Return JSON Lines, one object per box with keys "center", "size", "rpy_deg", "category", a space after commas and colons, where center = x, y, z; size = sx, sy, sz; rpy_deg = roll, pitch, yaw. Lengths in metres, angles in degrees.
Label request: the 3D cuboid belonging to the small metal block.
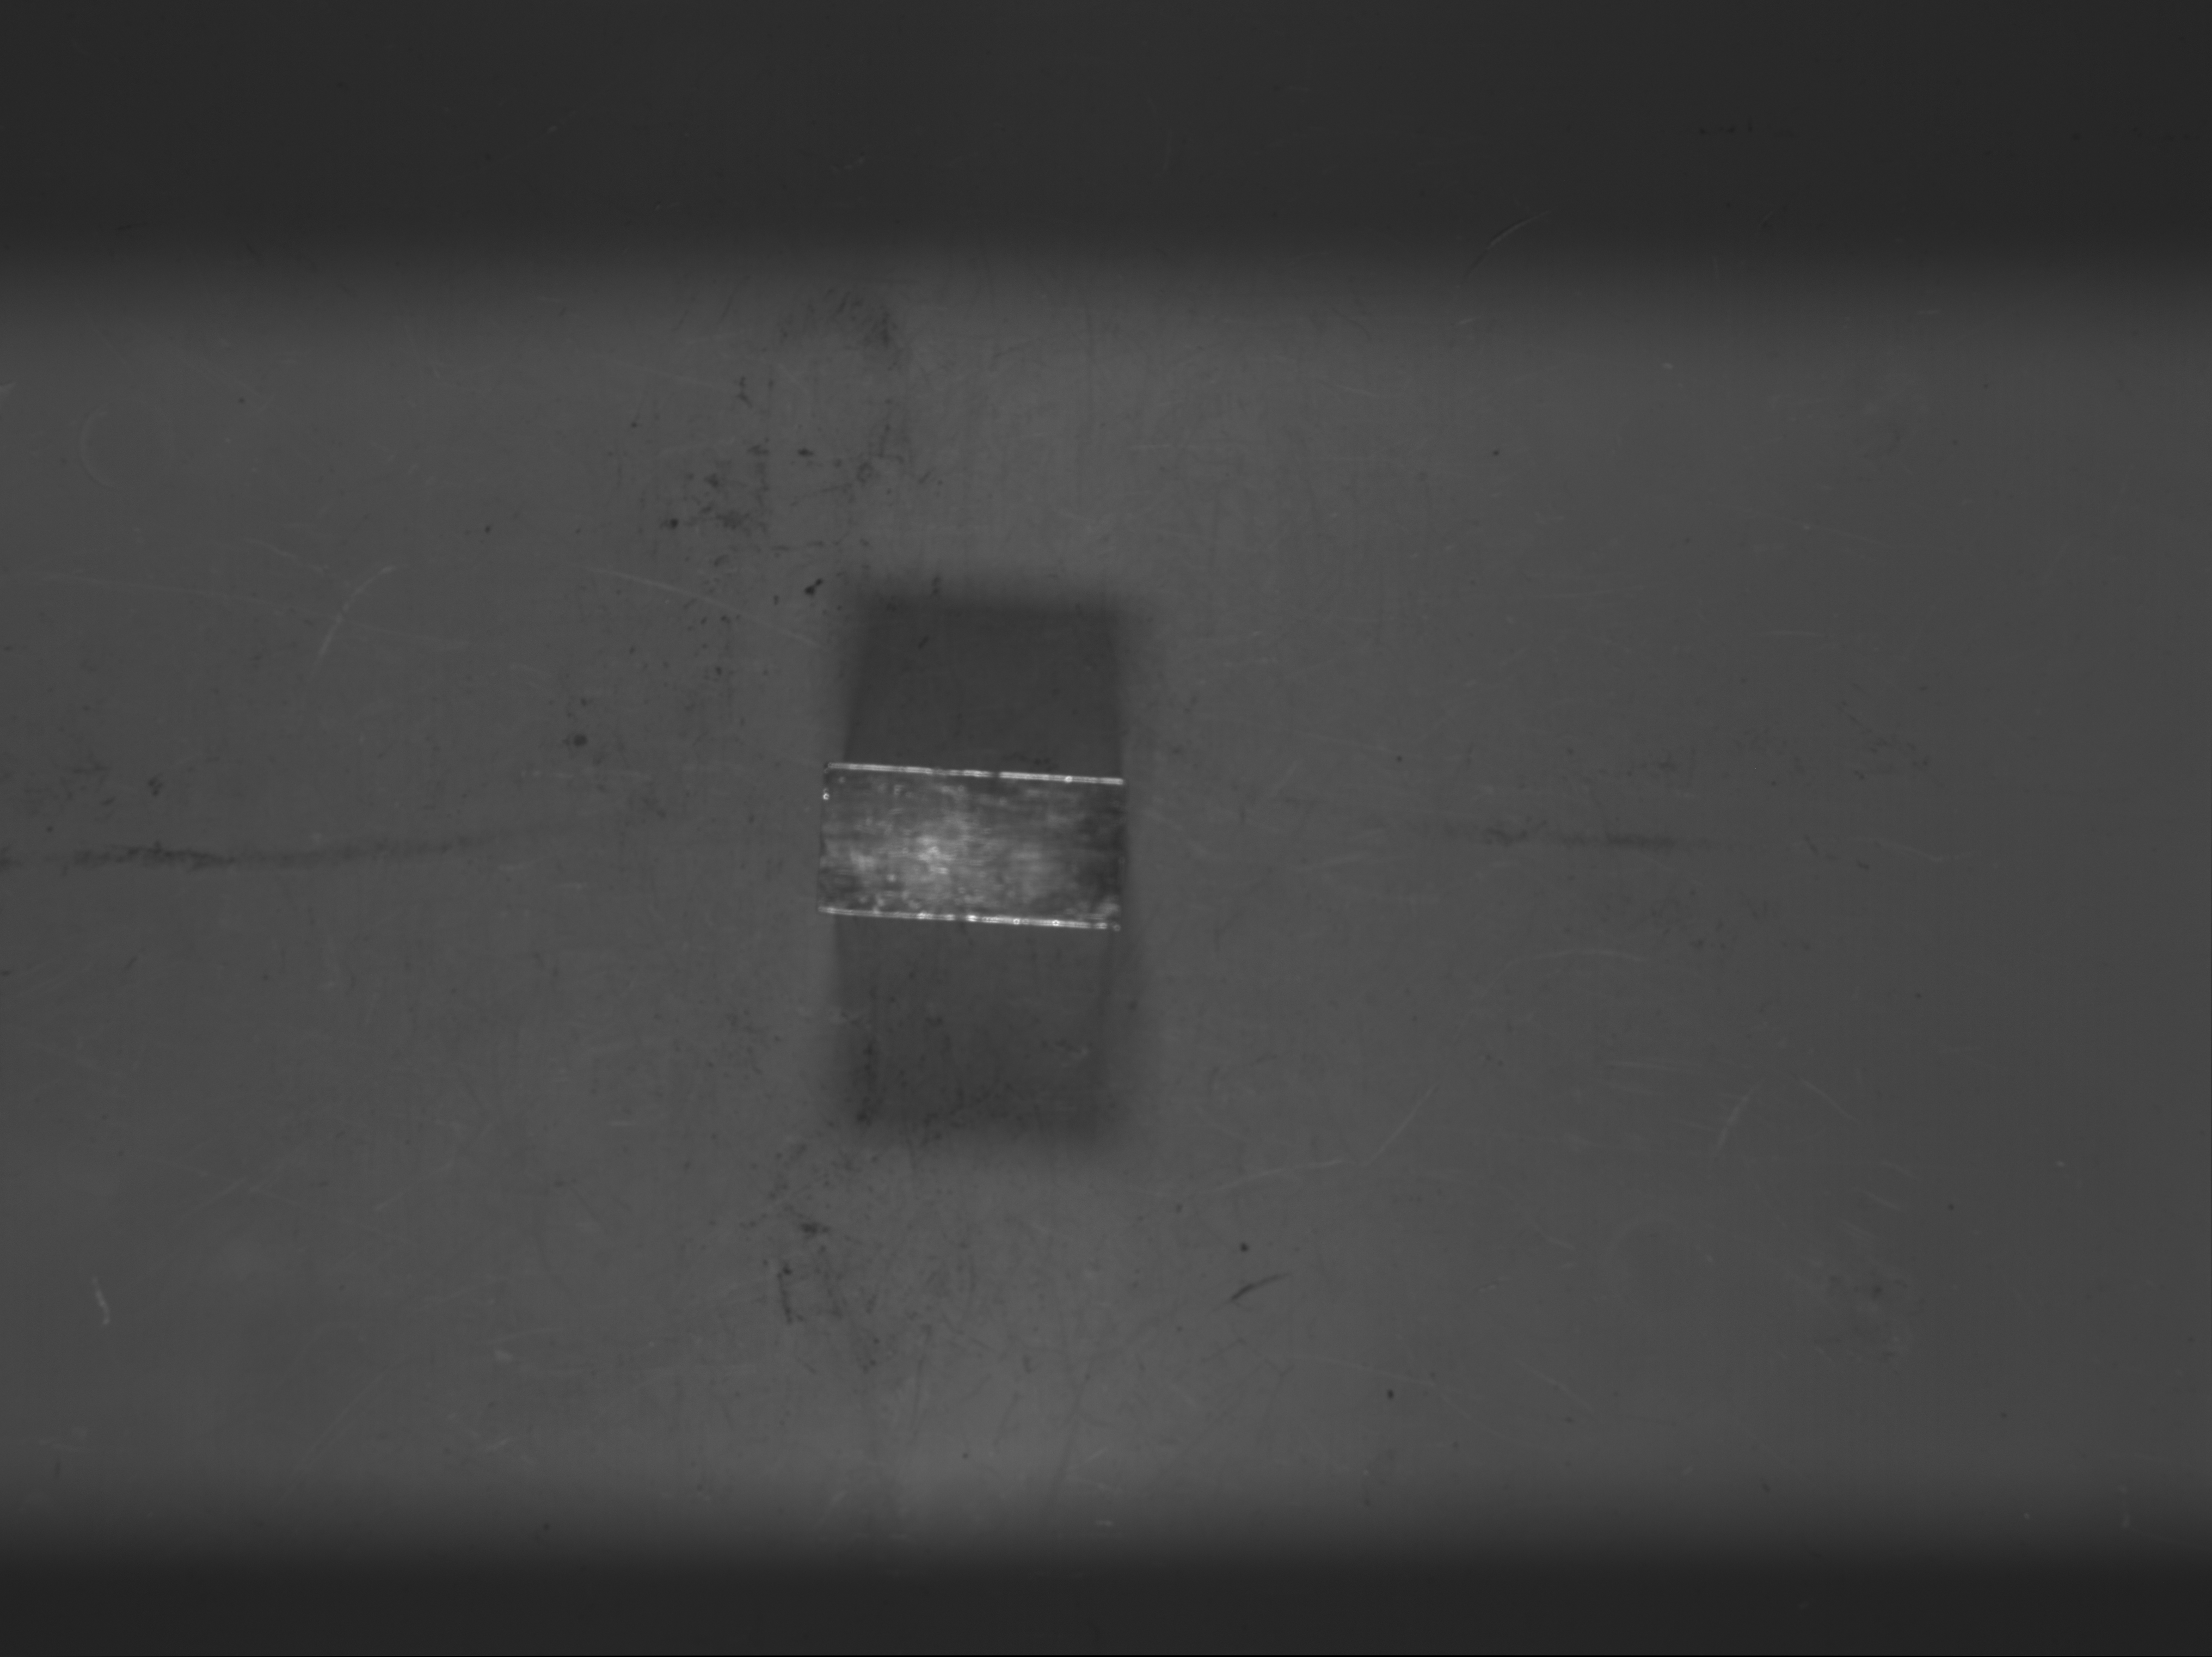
{"center": [-0.020, 0.003, 0.629], "size": [0.050, 0.050, 0.025], "rpy_deg": [3, 90, 0], "category": "small metal block"}
